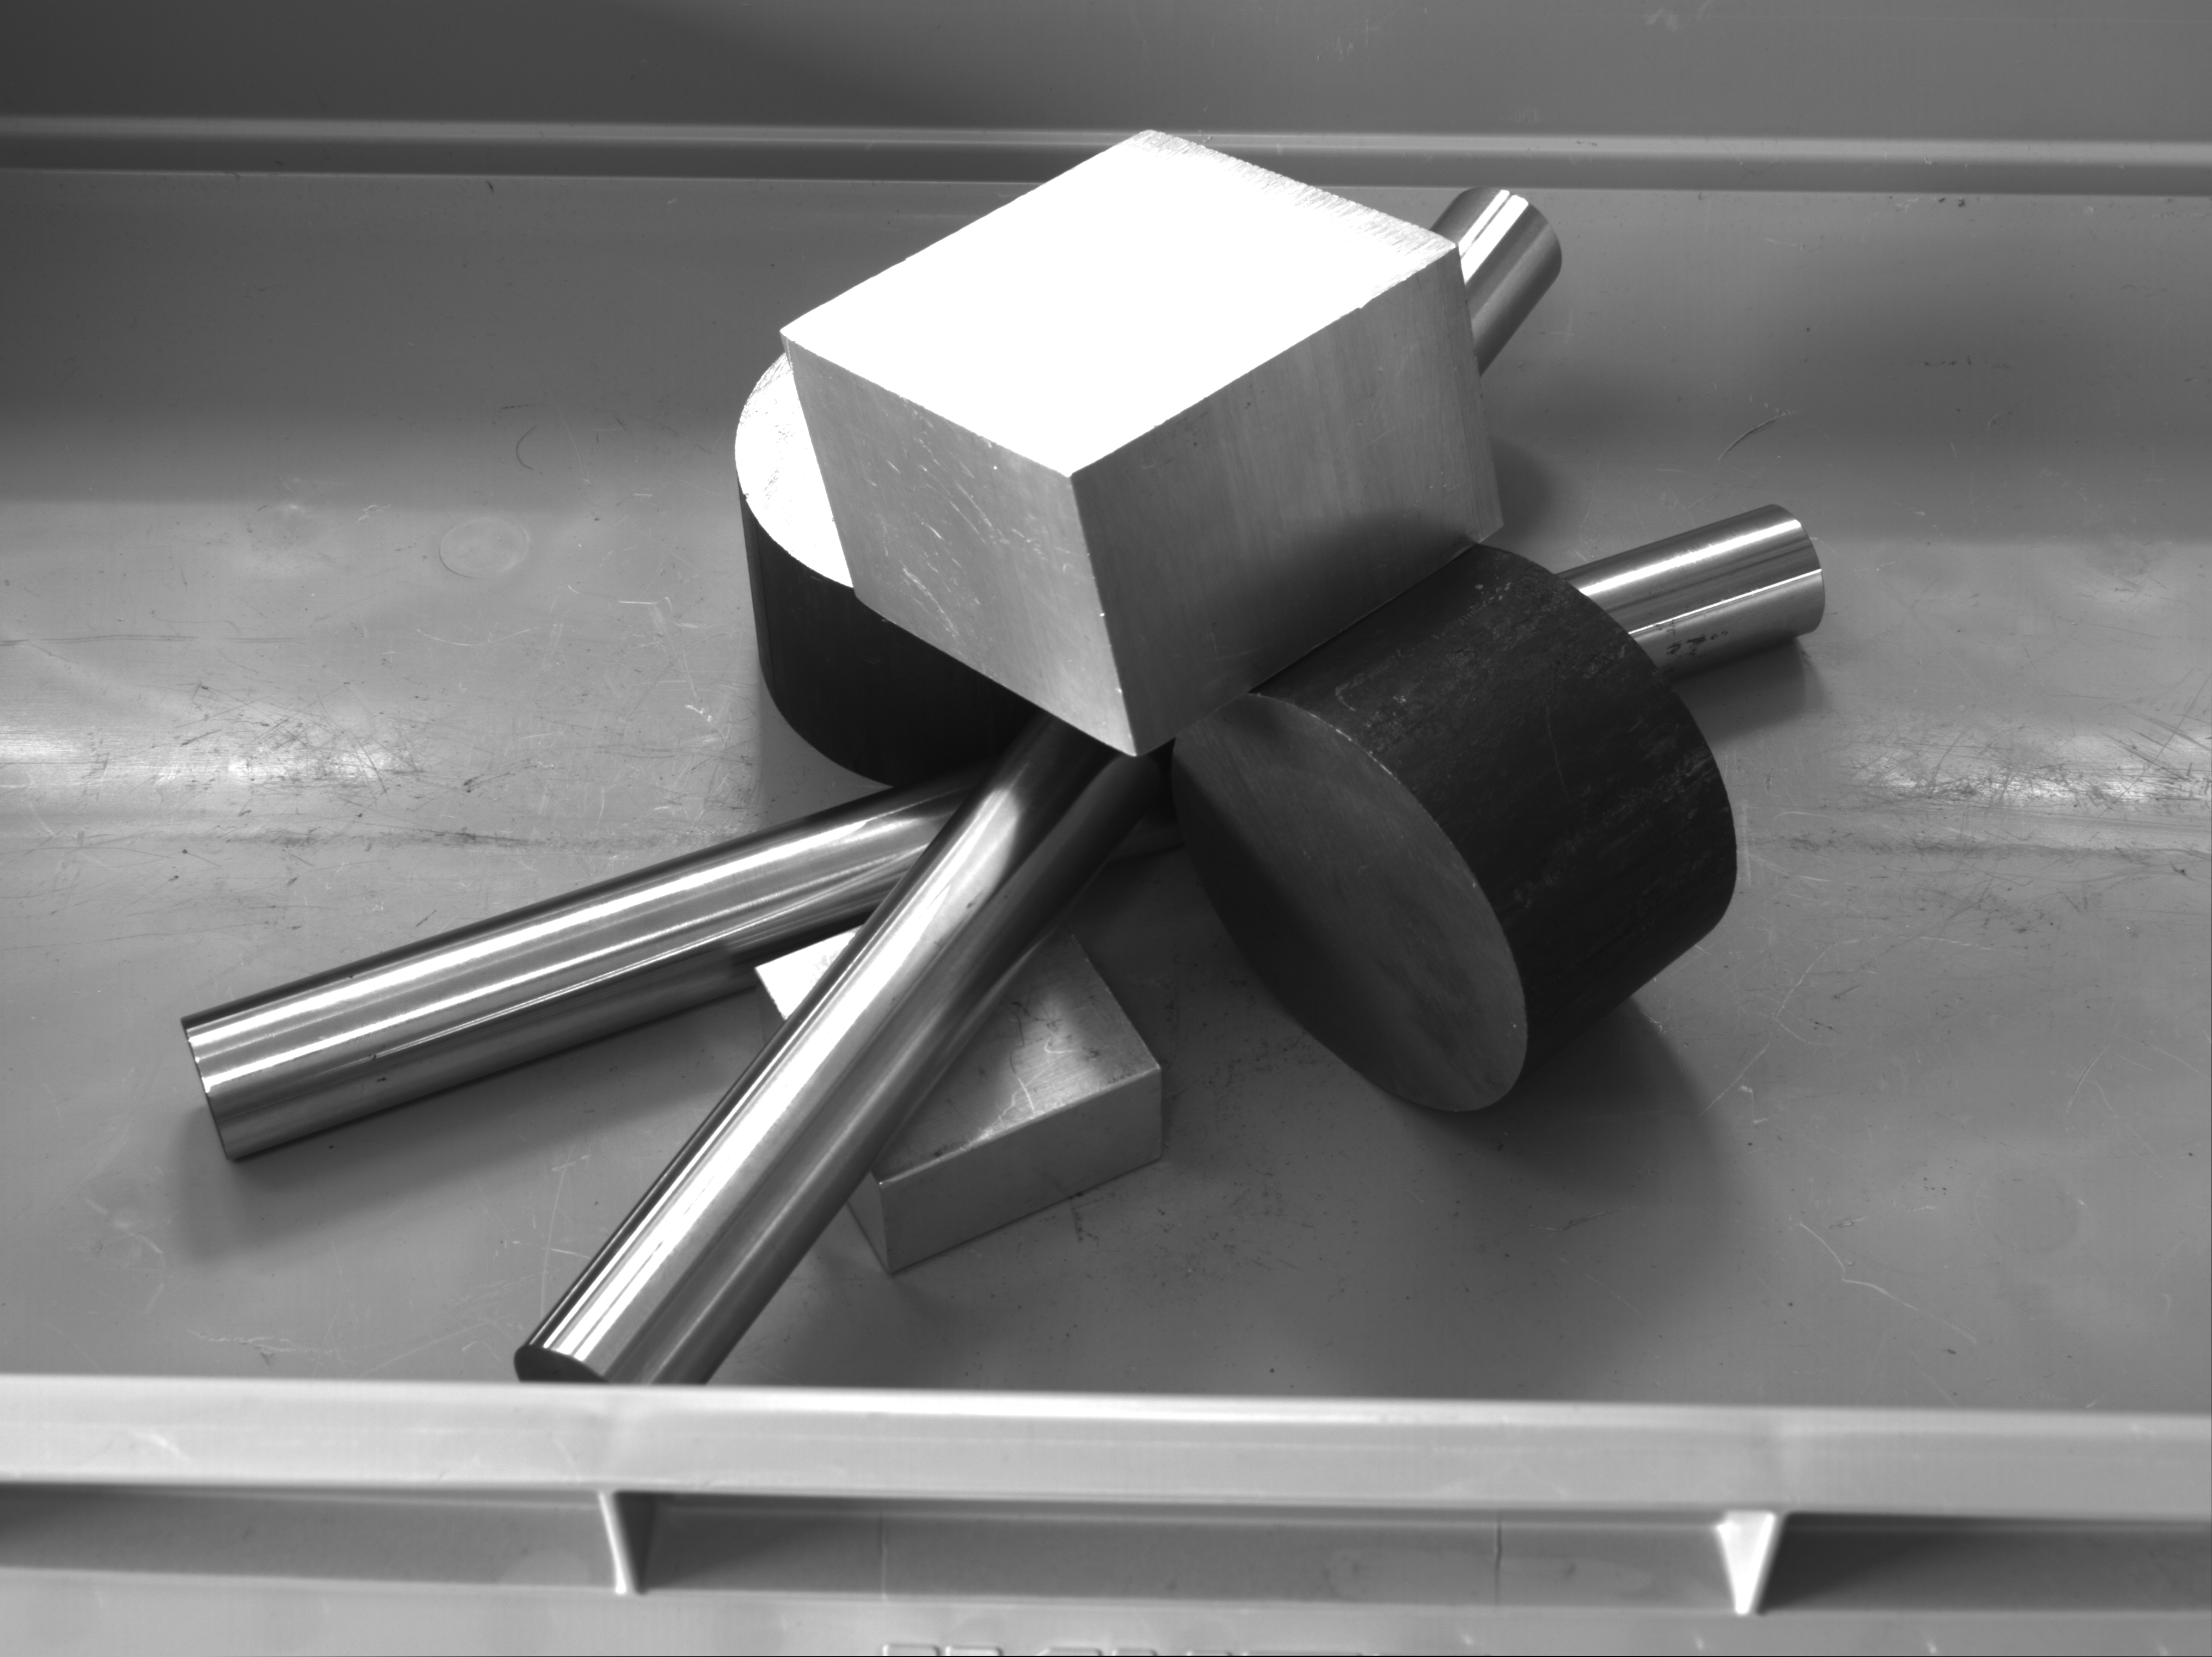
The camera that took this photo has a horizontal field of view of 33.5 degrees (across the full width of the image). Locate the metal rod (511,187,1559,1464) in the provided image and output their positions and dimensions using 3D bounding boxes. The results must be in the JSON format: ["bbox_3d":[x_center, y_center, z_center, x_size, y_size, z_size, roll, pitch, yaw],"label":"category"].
[{"bbox_3d":[-0.001,-0.014,0.621,0.025,0.025,0.300,24,54,19],"label":"metal rod"}]

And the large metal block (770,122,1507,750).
[{"bbox_3d":[0.006,-0.066,0.598,0.080,0.050,0.080,-33,40,-24],"label":"large metal block"}]

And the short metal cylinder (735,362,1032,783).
[{"bbox_3d":[-0.025,-0.053,0.669,0.080,0.050,0.080,0,50,0],"label":"short metal cylinder"}]

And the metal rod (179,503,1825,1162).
[{"bbox_3d":[-0.011,-0.003,0.643,0.300,0.025,0.025,-18,52,-15],"label":"metal rod"}]

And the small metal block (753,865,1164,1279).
[{"bbox_3d":[-0.024,0.039,0.608,0.050,0.025,0.050,-22,53,-17],"label":"small metal block"}]

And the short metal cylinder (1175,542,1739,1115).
[{"bbox_3d":[0.057,0.000,0.606,0.050,0.080,0.080,-36,58,-25],"label":"short metal cylinder"}]
